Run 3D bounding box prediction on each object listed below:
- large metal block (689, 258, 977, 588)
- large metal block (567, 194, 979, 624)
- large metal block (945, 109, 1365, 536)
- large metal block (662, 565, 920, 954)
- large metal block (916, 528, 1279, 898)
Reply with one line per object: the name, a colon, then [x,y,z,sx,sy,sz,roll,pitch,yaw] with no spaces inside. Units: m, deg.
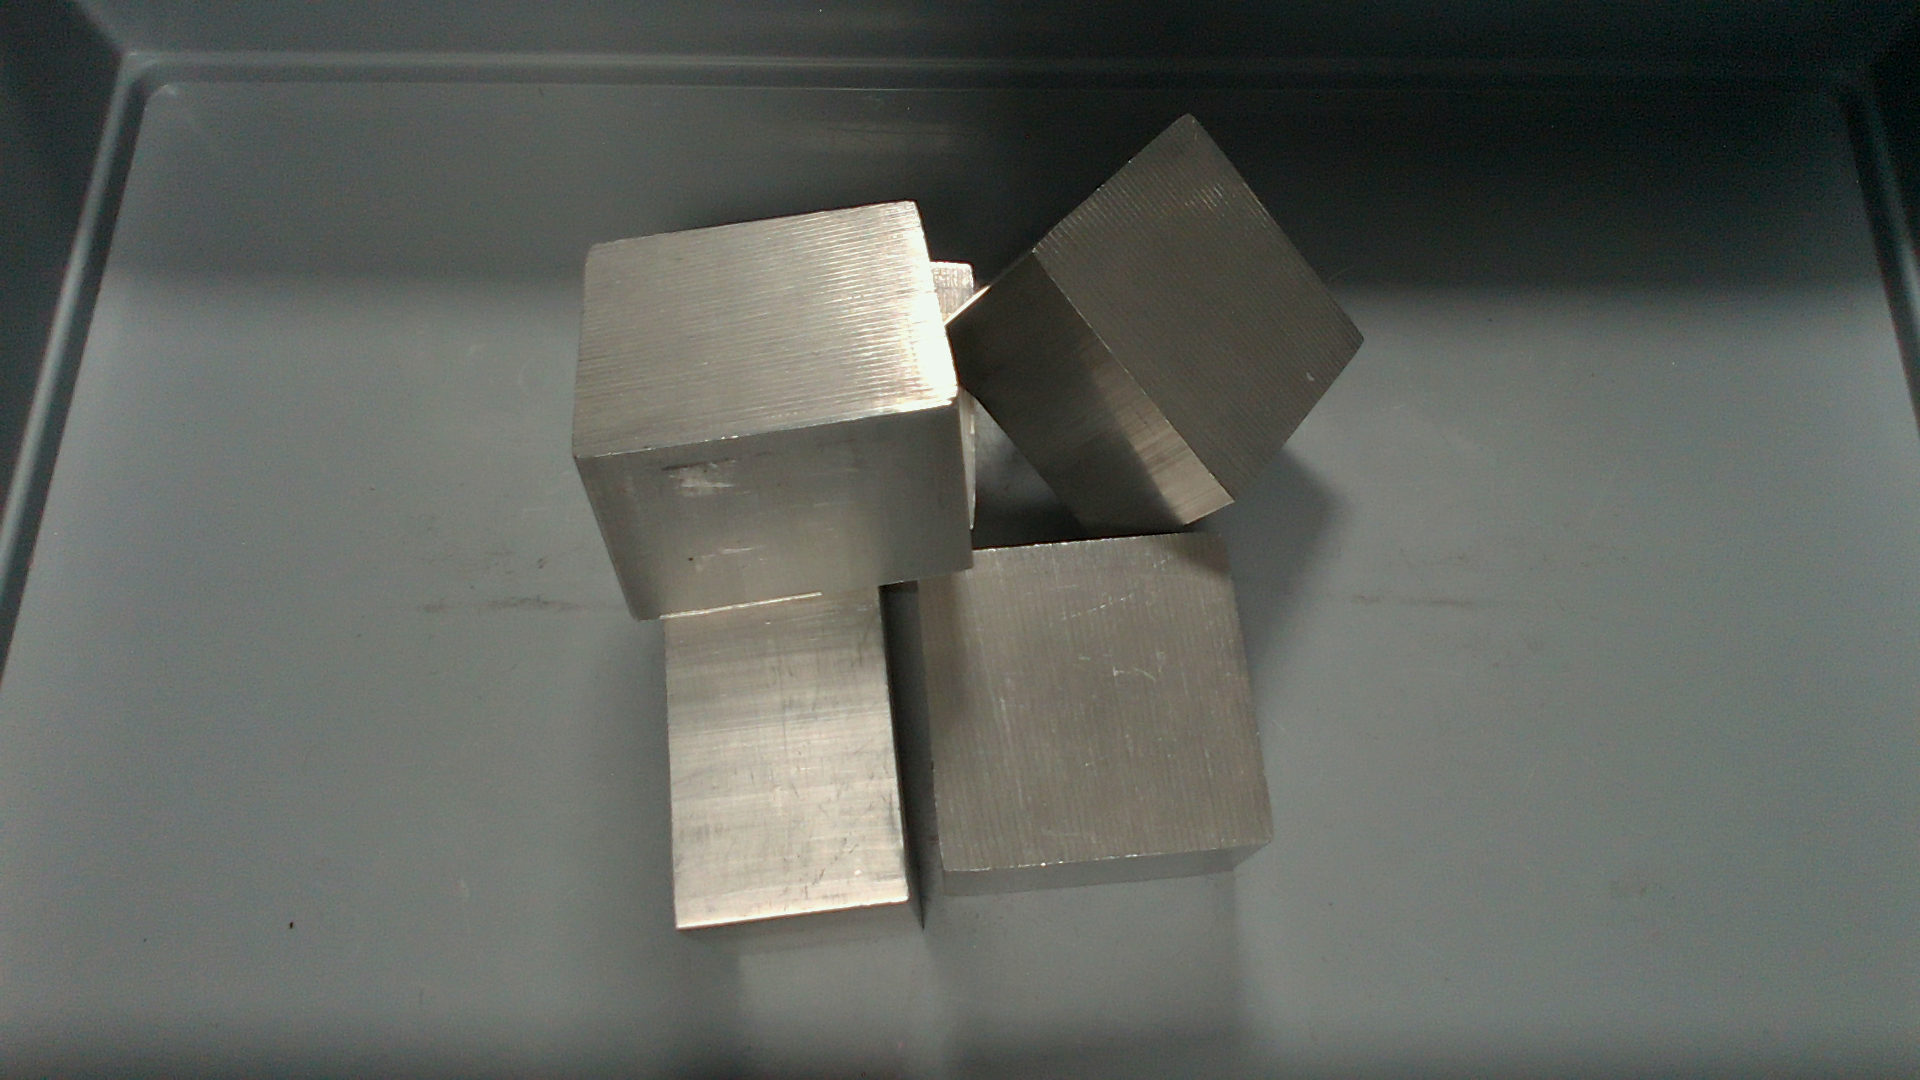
large metal block: [-0.036,-0.032,0.392,0.080,0.050,0.080,-1,70,0]
large metal block: [-0.043,-0.033,0.323,0.080,0.050,0.080,-9,45,-3]
large metal block: [0.051,-0.055,0.373,0.080,0.050,0.080,49,54,-8]
large metal block: [-0.040,0.057,0.343,0.050,0.080,0.080,-6,70,-2]
large metal block: [0.032,0.046,0.361,0.080,0.050,0.080,-5,70,-2]
